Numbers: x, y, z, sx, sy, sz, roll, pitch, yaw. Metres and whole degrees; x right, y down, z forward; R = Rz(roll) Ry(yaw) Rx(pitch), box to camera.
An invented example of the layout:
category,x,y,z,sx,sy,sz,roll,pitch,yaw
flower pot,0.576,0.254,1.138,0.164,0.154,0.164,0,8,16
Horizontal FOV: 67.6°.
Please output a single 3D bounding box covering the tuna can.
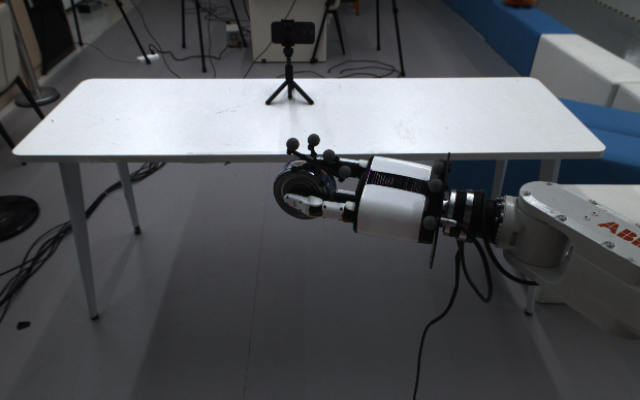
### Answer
category,x,y,z,sx,sy,sz,roll,pitch,yaw
tuna can,-0.021,-0.016,0.688,0.085,0.085,0.034,12,35,14
